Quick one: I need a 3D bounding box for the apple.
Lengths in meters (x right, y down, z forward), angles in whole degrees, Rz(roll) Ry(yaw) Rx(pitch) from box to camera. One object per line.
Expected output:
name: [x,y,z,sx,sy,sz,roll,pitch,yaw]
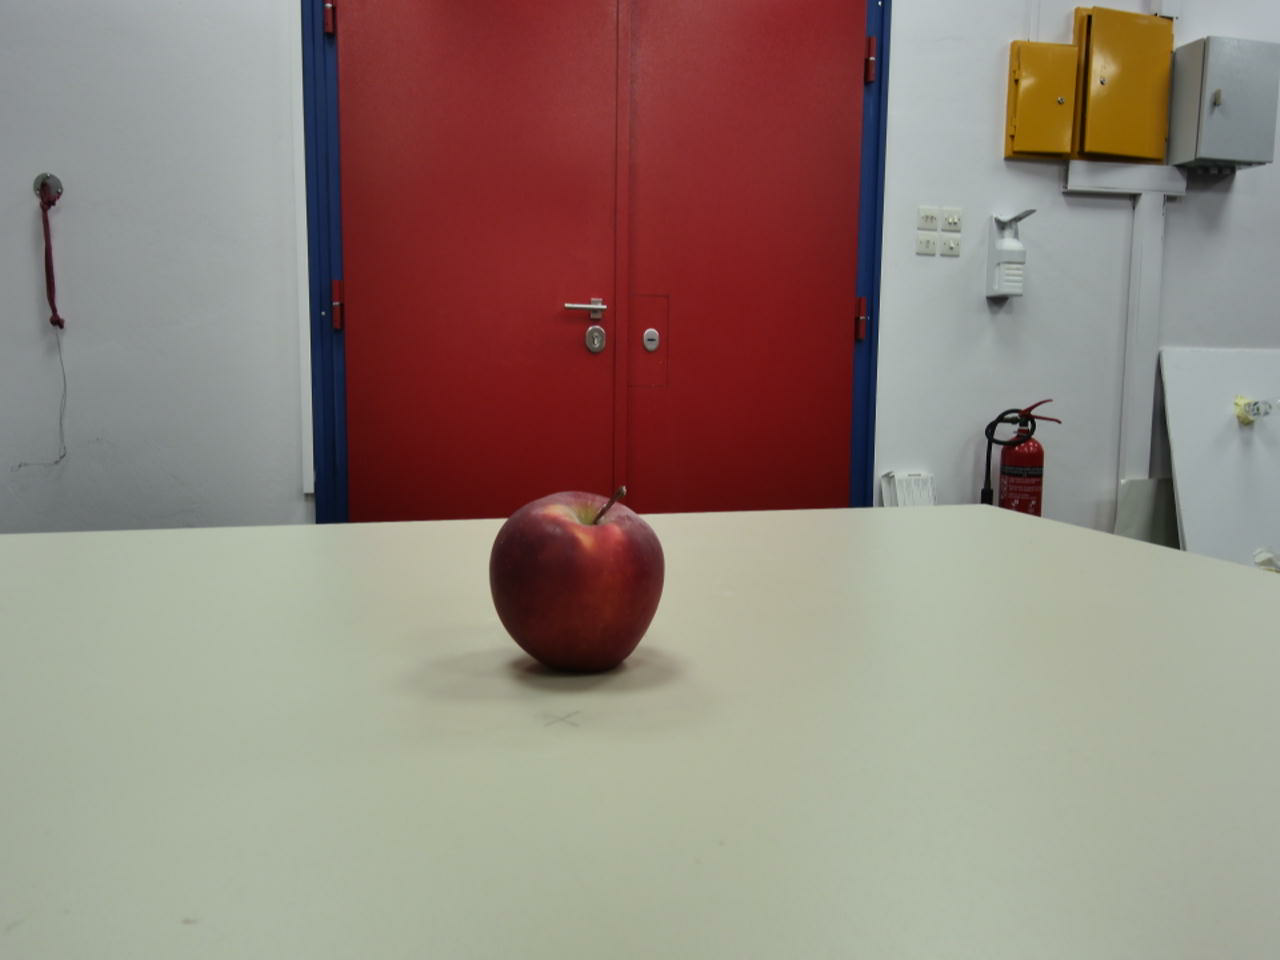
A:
apple: [-0.025,0.039,0.402,0.070,0.072,0.070,-1,4,0]
